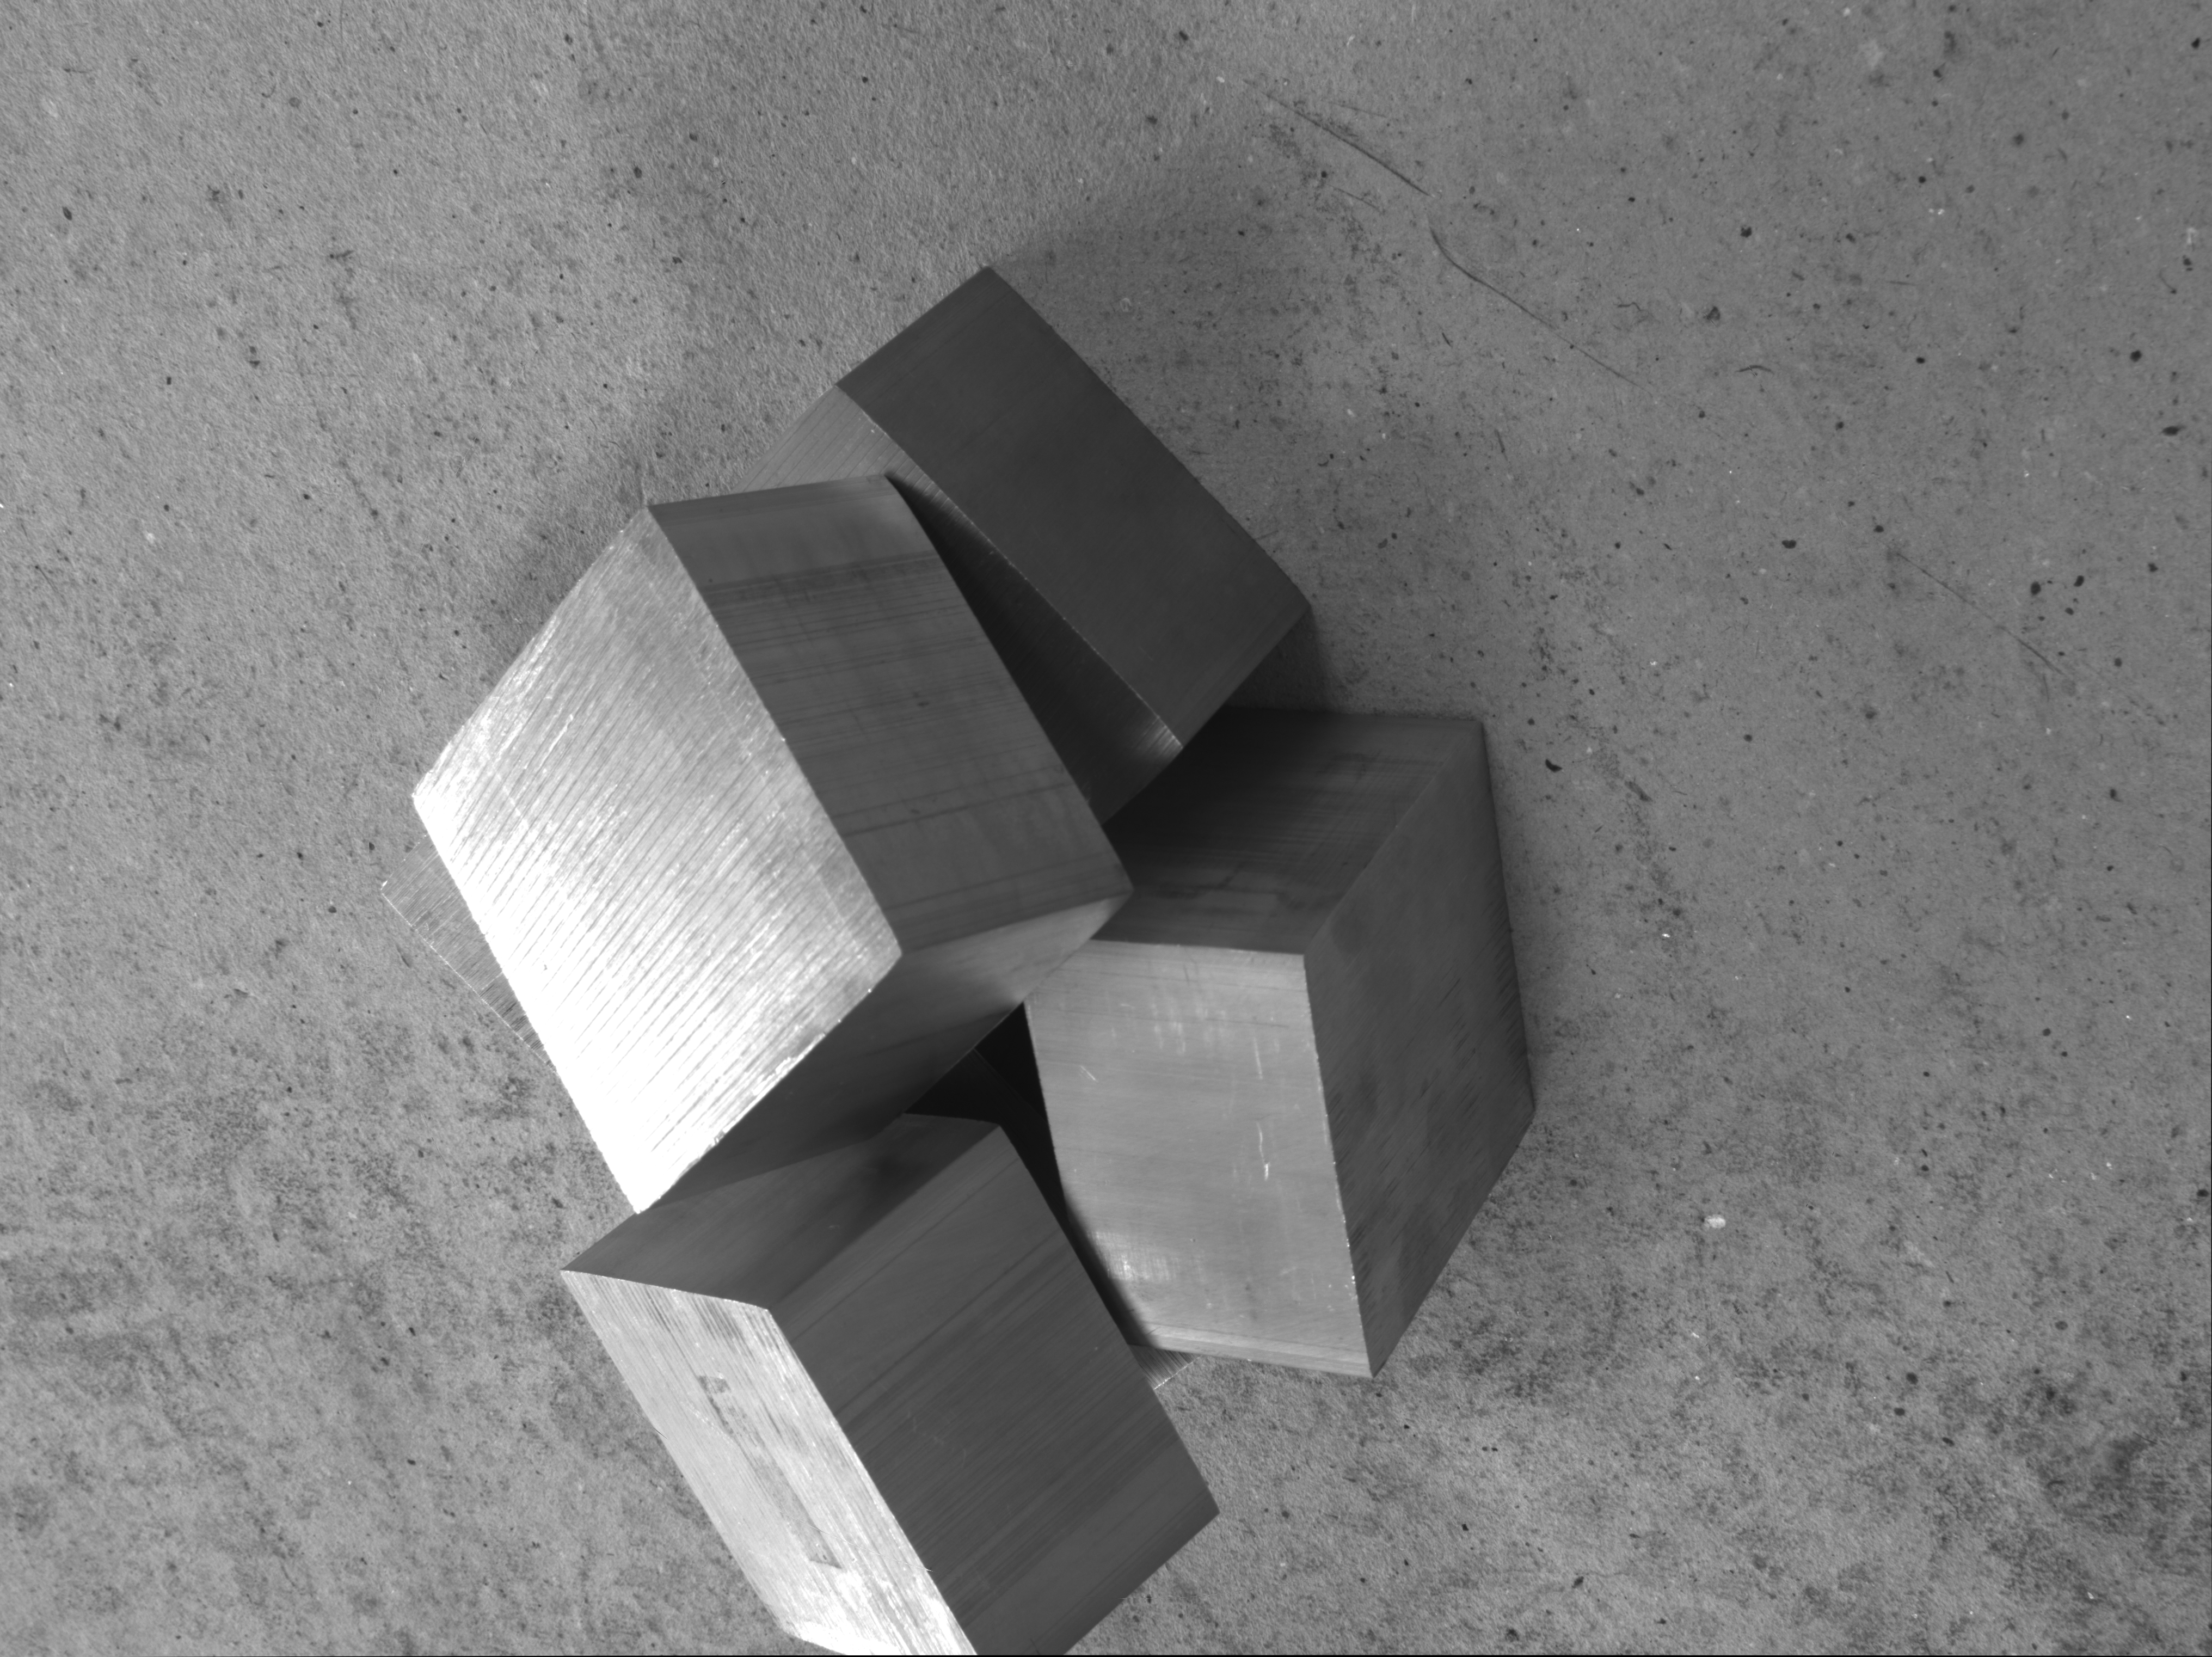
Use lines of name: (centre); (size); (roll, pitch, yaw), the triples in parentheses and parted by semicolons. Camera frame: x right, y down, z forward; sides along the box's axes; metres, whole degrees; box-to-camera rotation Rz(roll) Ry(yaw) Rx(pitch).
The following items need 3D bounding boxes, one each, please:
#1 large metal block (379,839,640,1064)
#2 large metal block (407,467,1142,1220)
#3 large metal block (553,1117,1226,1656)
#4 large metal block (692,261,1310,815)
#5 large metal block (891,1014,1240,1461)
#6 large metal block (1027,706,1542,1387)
large metal block: (-0.072, 0.008, 0.671); (0.080, 0.050, 0.080); (46, 129, -4)
large metal block: (-0.053, 0.002, 0.571); (0.080, 0.050, 0.080); (-44, 70, 39)
large metal block: (-0.038, 0.096, 0.622); (0.080, 0.050, 0.080); (-3, 120, 57)
large metal block: (-0.027, -0.033, 0.619); (0.080, 0.050, 0.080); (46, 128, -3)
large metal block: (-0.016, 0.065, 0.676); (0.080, 0.050, 0.080); (46, 129, -4)
large metal block: (0.031, 0.034, 0.612); (0.050, 0.080, 0.080); (4, 120, 27)
